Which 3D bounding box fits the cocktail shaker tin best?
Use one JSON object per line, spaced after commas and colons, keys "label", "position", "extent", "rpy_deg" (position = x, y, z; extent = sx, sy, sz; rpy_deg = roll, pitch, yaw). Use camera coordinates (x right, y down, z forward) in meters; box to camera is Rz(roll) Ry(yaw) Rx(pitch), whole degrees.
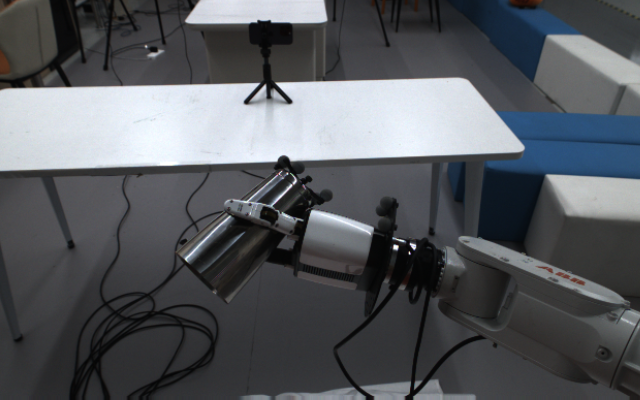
{"label": "cocktail shaker tin", "position": [-0.090, 0.035, 0.622], "extent": [0.093, 0.093, 0.170], "rpy_deg": [31, 65, 35]}
